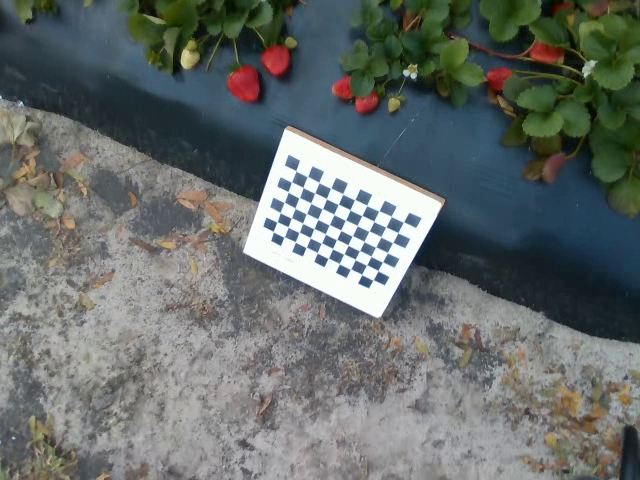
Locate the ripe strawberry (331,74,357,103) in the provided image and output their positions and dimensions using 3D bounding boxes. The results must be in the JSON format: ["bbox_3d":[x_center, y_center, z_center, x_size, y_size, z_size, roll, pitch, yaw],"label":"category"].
[{"bbox_3d":[0.039,-0.253,1.076,0.053,0.047,0.039,-11,37,-8],"label":"ripe strawberry"}]

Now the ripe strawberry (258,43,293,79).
[{"bbox_3d":[-0.074,-0.300,1.092,0.051,0.060,0.050,12,-35,-37],"label":"ripe strawberry"}]

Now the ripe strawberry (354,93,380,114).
[{"bbox_3d":[0.072,-0.226,1.064,0.043,0.049,0.041,23,-26,9],"label":"ripe strawberry"}]

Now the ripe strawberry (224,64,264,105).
[{"bbox_3d":[-0.126,-0.262,1.106,0.058,0.065,0.043,-30,-2,39],"label":"ripe strawberry"}]
